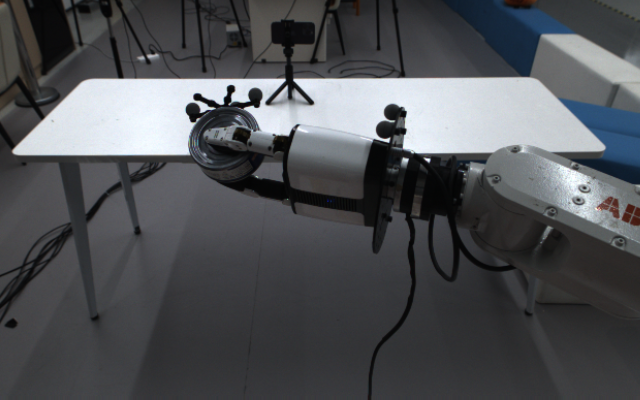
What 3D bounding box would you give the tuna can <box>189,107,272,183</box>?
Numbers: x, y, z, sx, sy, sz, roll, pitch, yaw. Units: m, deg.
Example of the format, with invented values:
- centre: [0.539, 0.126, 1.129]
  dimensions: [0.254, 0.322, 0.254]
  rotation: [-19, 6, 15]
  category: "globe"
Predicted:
- centre: [-0.104, -0.061, 0.562]
  dimensions: [0.085, 0.034, 0.085]
  rotation: [-4, 68, 9]
  category: "tuna can"
